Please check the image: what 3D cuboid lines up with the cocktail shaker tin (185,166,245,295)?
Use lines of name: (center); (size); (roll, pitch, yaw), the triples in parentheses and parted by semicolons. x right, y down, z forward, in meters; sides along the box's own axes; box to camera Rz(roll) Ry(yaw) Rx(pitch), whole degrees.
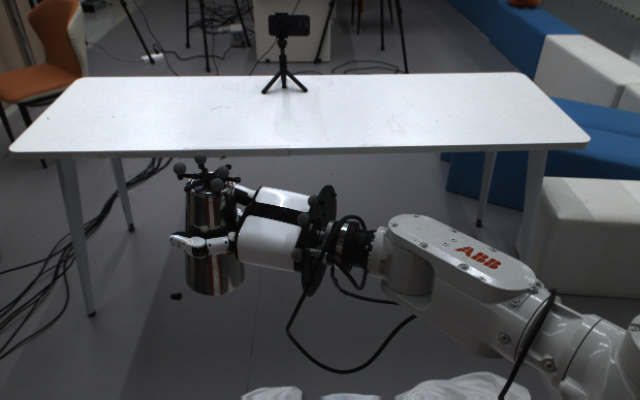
cocktail shaker tin: (-0.159, 0.047, 0.718); (0.093, 0.170, 0.093); (3, 32, -2)
